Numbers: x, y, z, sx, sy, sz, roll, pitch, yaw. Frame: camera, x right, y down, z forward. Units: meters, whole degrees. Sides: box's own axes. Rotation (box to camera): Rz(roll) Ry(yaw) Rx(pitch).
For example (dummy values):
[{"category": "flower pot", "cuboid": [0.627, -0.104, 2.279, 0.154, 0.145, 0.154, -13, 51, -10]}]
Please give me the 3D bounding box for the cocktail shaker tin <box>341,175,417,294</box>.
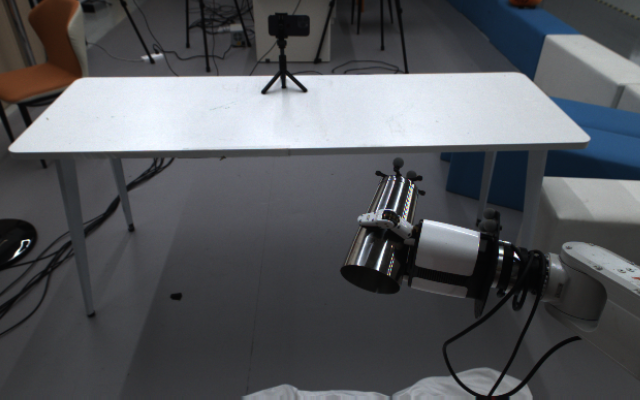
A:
[{"category": "cocktail shaker tin", "cuboid": [0.099, 0.047, 0.746, 0.093, 0.093, 0.170, 14, 60, 17]}]
